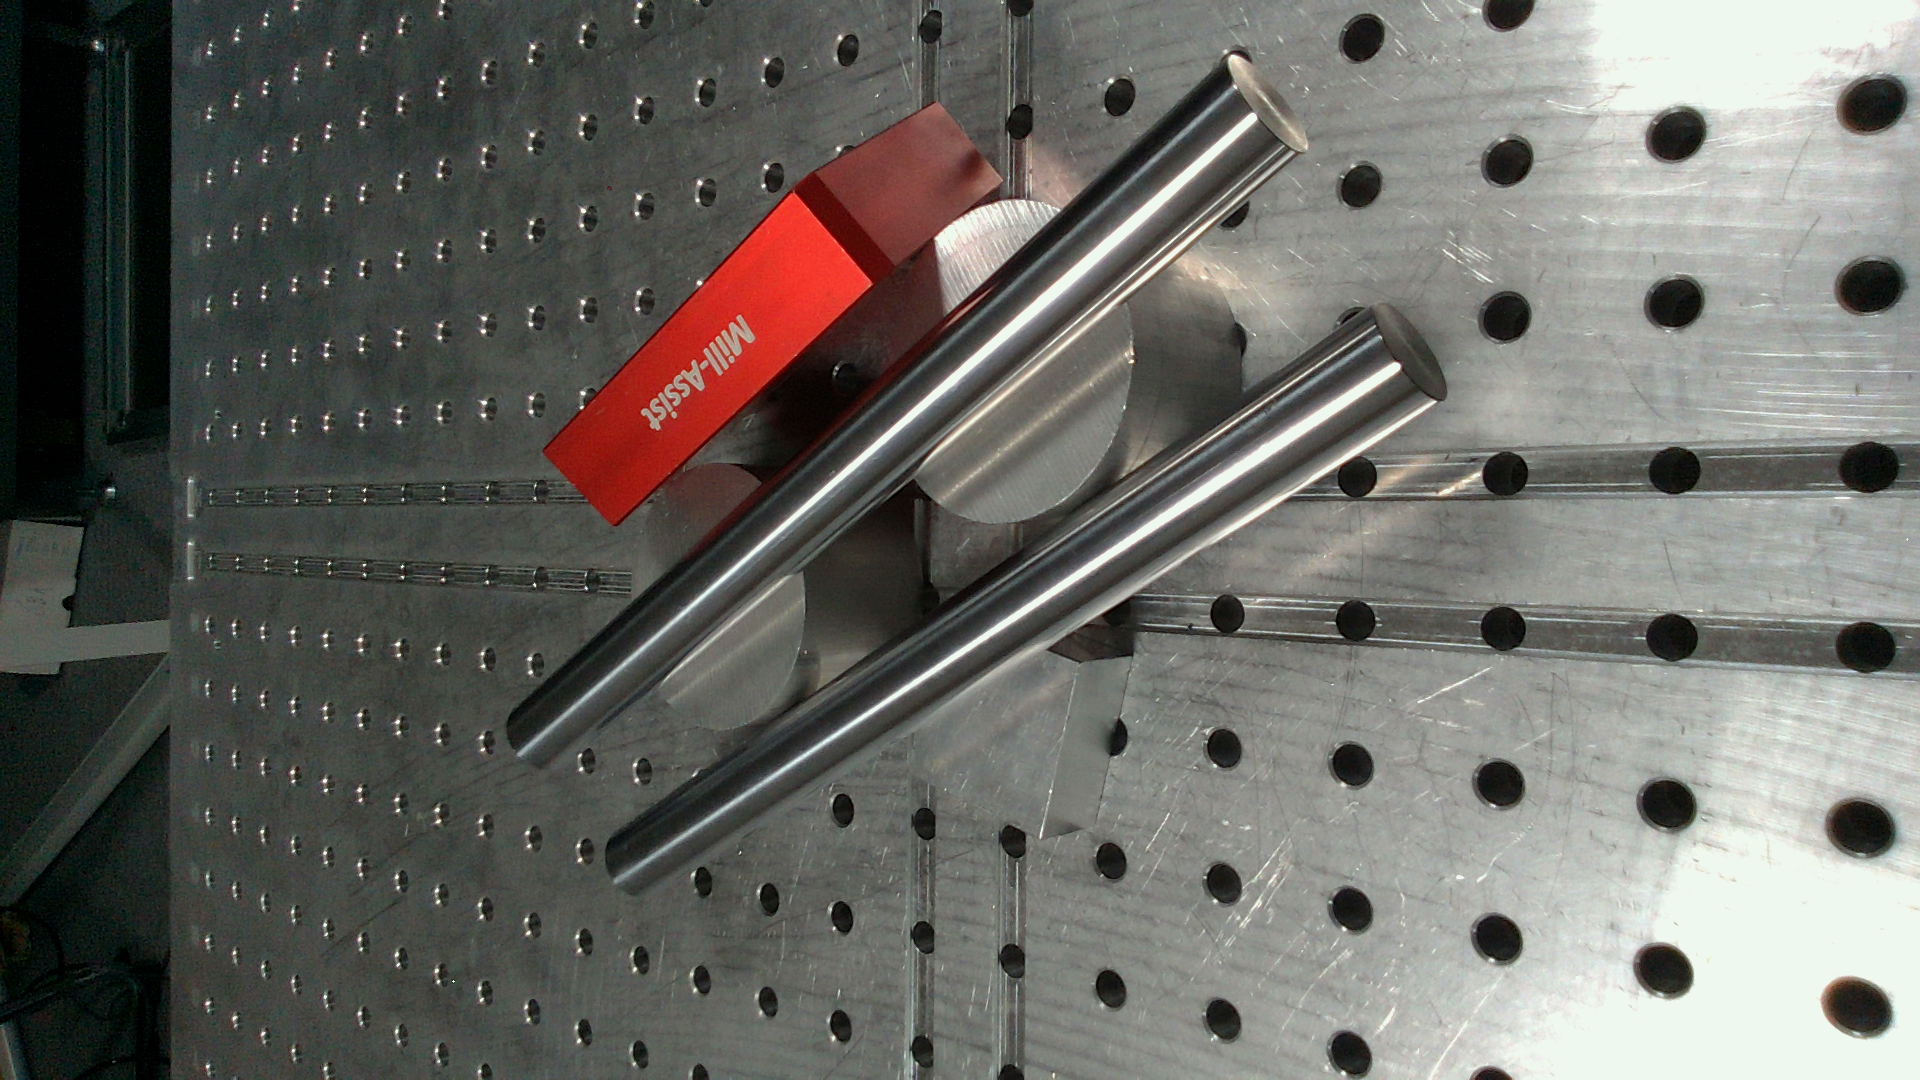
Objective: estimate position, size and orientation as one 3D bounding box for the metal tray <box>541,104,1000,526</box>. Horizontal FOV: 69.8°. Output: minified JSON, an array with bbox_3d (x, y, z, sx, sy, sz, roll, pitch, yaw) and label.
[{"bbox_3d":[-0.055,-0.065,0.400,0.130,0.090,0.030,-36,100,34],"label":"metal tray"}]

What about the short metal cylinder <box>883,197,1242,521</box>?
[{"bbox_3d":[0.026,-0.045,0.360,0.080,0.050,0.080,0,90,40],"label":"short metal cylinder"}]

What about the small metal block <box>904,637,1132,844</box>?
[{"bbox_3d":[0.015,0.050,0.384,0.050,0.025,0.050,19,102,39],"label":"small metal block"}]

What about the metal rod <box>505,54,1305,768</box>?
[{"bbox_3d":[-0.037,-0.013,0.362,0.299,0.025,0.025,-37,67,34],"label":"metal rod"}]

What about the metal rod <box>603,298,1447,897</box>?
[{"bbox_3d":[-0.006,0.033,0.369,0.299,0.025,0.025,-36,68,34],"label":"metal rod"}]

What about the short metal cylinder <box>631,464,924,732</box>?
[{"bbox_3d":[-0.058,0.017,0.430,0.080,0.050,0.080,0,90,40],"label":"short metal cylinder"}]
